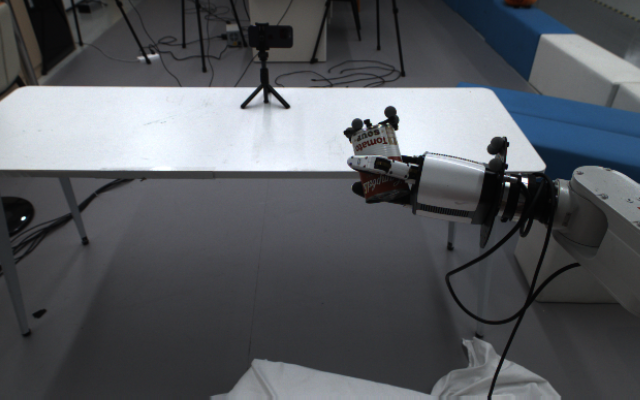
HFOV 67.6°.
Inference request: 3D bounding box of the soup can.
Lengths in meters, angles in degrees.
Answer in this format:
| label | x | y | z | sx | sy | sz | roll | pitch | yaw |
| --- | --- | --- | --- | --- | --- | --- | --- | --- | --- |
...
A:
| label | x | y | z | sx | sy | sz | roll | pitch | yaw |
| --- | --- | --- | --- | --- | --- | --- | --- | --- | --- |
| soup can | 0.090 | -0.053 | 0.716 | 0.067 | 0.067 | 0.101 | -10 | 79 | -16 |
